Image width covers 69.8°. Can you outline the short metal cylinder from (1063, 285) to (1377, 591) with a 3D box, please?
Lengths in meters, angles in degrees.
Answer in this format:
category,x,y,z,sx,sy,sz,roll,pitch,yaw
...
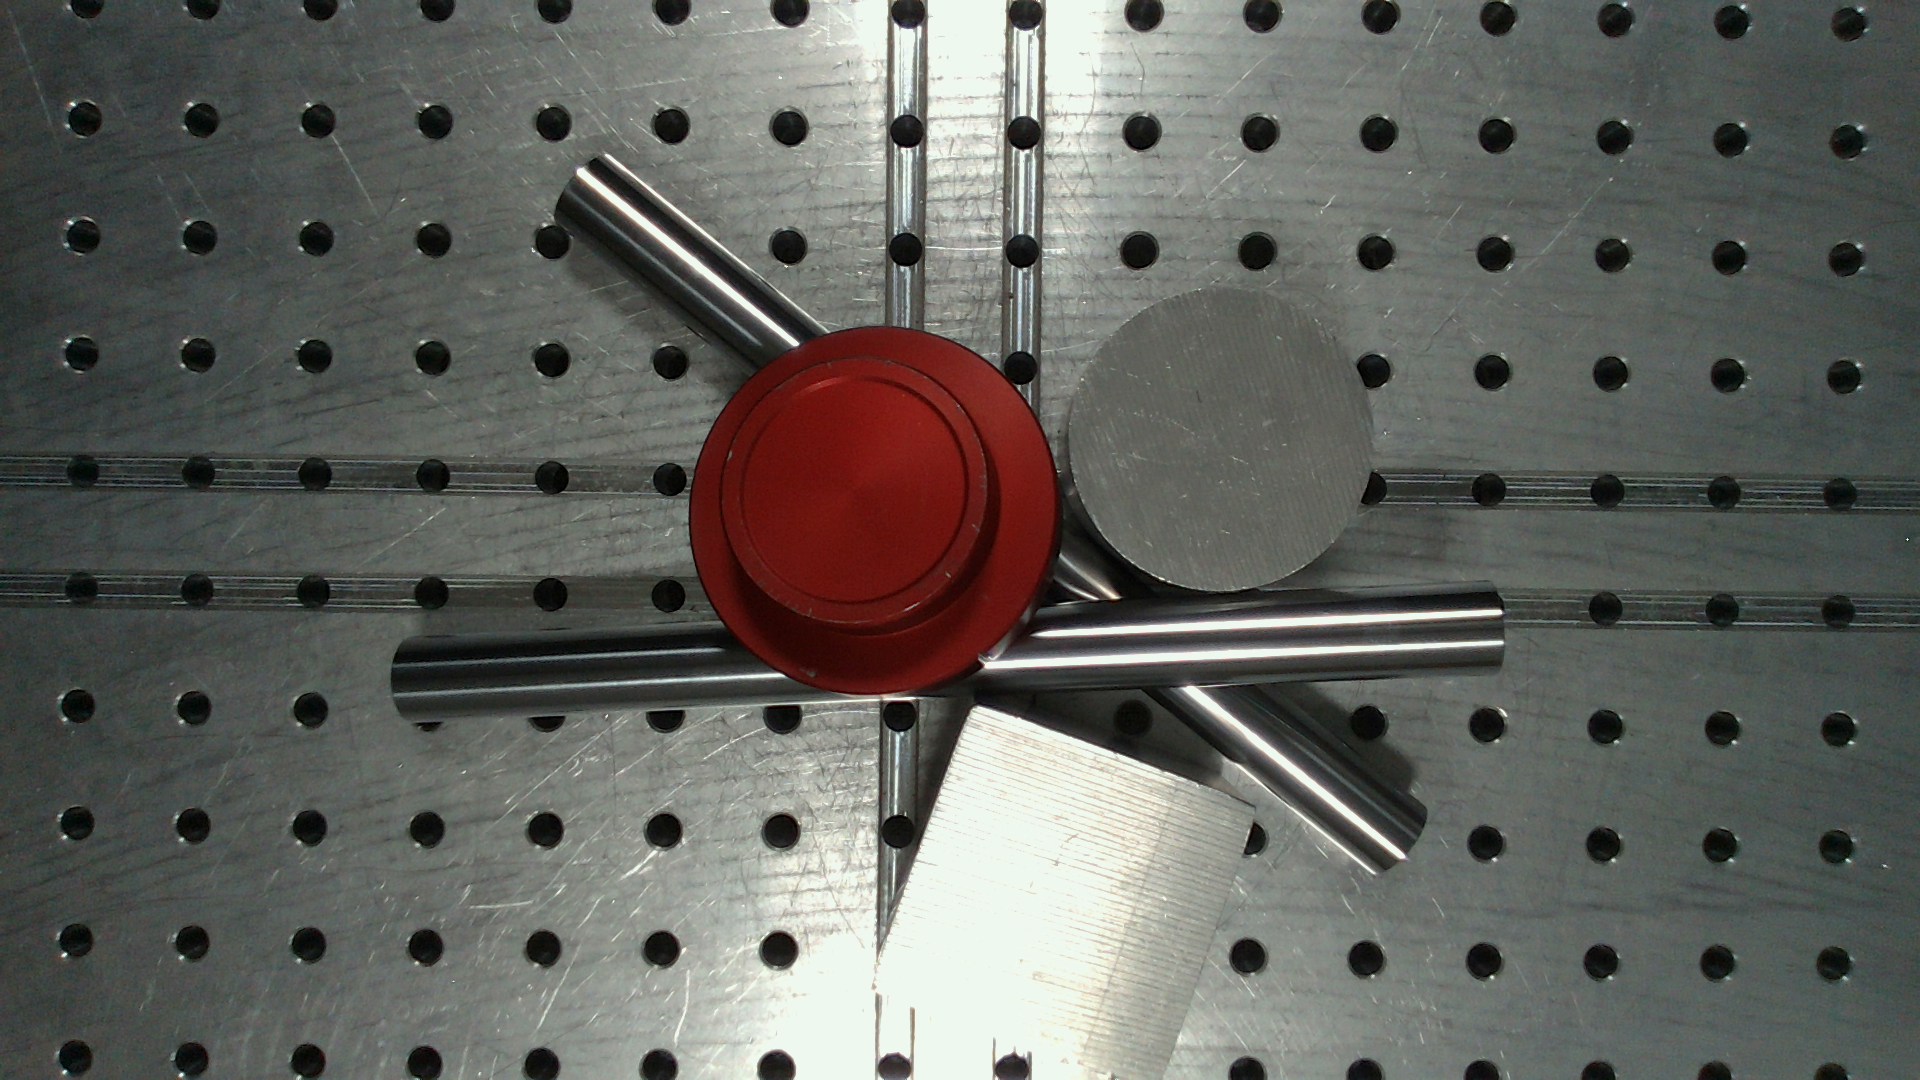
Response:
category,x,y,z,sx,sy,sz,roll,pitch,yaw
short metal cylinder,0.069,-0.027,0.384,0.080,0.050,0.080,0,90,0

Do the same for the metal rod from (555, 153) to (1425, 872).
category,x,y,z,sx,sy,sz,roll,pitch,yaw
metal rod,0.009,-0.008,0.398,0.300,0.025,0.025,39,90,0

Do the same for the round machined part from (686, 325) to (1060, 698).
category,x,y,z,sx,sy,sz,roll,pitch,yaw
round machined part,-0.023,-0.009,0.355,0.098,0.042,0.098,-1,81,6

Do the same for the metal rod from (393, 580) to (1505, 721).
category,x,y,z,sx,sy,sz,roll,pitch,yaw
metal rod,-0.009,0.031,0.379,0.300,0.025,0.025,-3,90,7

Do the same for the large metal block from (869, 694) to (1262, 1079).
category,x,y,z,sx,sy,sz,roll,pitch,yaw
large metal block,0.028,0.093,0.383,0.080,0.050,0.080,20,90,0
